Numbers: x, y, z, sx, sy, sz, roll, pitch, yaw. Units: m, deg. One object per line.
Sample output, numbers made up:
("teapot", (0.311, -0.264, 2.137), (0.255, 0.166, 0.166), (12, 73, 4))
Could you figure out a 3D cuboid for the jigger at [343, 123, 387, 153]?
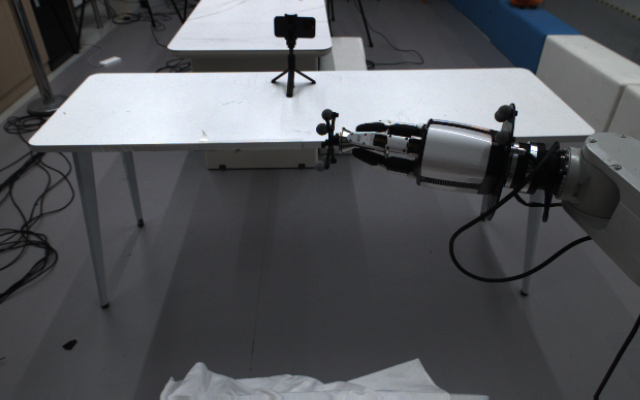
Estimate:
("jigger", (0.071, -0.087, 0.700), (0.071, 0.043, 0.043), (5, 34, 14))
